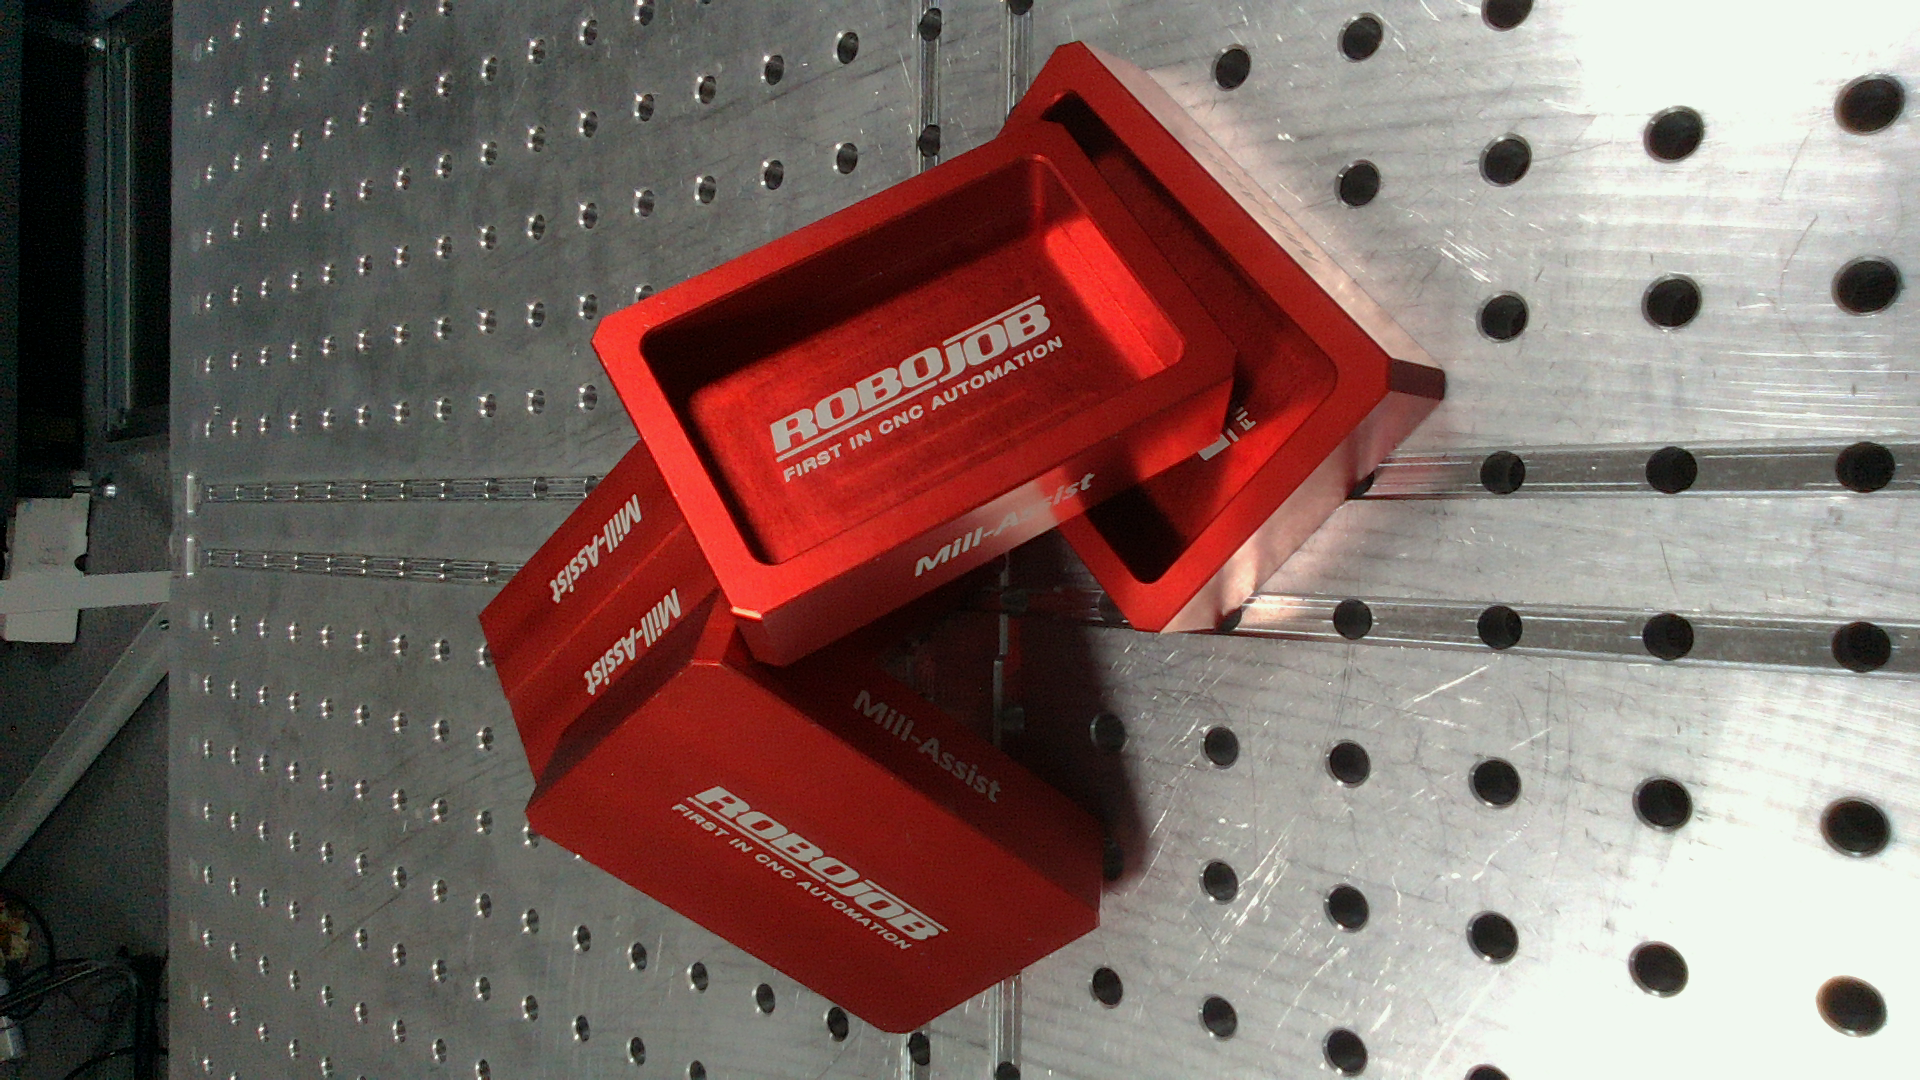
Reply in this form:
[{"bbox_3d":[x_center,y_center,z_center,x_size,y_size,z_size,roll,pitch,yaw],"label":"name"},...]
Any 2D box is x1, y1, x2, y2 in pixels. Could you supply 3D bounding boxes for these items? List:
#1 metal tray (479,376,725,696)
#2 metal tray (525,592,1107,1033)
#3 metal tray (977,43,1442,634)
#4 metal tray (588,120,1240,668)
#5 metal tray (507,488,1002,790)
[{"bbox_3d":[-0.073,0.003,0.417,0.130,0.090,0.030,-40,66,33],"label":"metal tray"},{"bbox_3d":[-0.036,0.077,0.368,0.090,0.130,0.030,-40,24,33],"label":"metal tray"},{"bbox_3d":[0.046,-0.052,0.354,0.090,0.030,0.130,-51,60,28],"label":"metal tray"},{"bbox_3d":[-0.011,-0.039,0.333,0.130,0.030,0.090,-27,66,-11],"label":"metal tray"},{"bbox_3d":[-0.061,0.028,0.404,0.130,0.090,0.030,-40,66,33],"label":"metal tray"}]
